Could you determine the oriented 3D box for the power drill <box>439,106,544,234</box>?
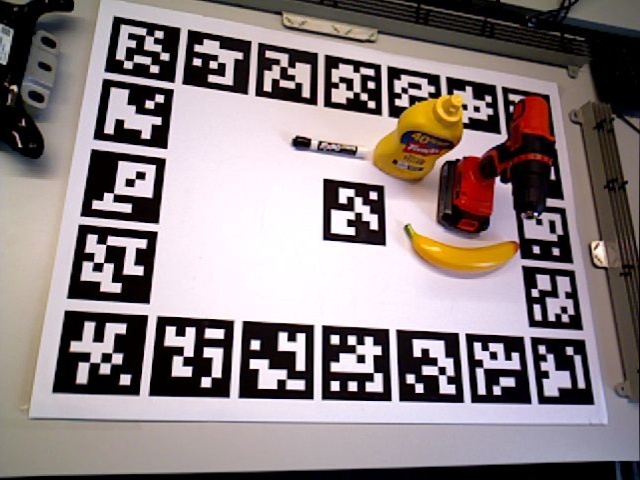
[{"bbox_3d":[0.245,-0.077,0.789,0.057,0.190,0.182,19,67,-11],"label":"power drill"}]

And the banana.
[{"bbox_3d":[0.208,0.034,0.851,0.196,0.039,0.073,13,73,-9],"label":"banana"}]

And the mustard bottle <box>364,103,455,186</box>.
[{"bbox_3d":[0.141,-0.144,0.798,0.095,0.195,0.058,17,69,-11],"label":"mustard bottle"}]

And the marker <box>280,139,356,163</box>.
[{"bbox_3d":[-0.003,-0.140,0.852,0.120,0.020,0.019,8,73,-13],"label":"marker"}]
